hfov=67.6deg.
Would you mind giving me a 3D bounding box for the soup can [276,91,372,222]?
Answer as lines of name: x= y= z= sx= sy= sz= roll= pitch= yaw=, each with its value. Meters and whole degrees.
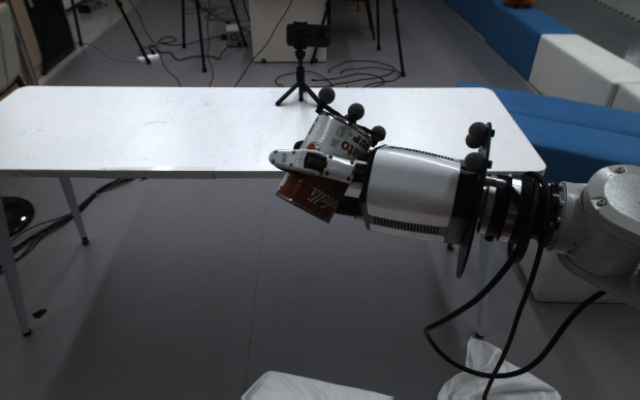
soup can: x=0.006 y=-0.034 z=0.522 sx=0.067 sy=0.101 sz=0.067 roll=28 pitch=-2 yaw=1
